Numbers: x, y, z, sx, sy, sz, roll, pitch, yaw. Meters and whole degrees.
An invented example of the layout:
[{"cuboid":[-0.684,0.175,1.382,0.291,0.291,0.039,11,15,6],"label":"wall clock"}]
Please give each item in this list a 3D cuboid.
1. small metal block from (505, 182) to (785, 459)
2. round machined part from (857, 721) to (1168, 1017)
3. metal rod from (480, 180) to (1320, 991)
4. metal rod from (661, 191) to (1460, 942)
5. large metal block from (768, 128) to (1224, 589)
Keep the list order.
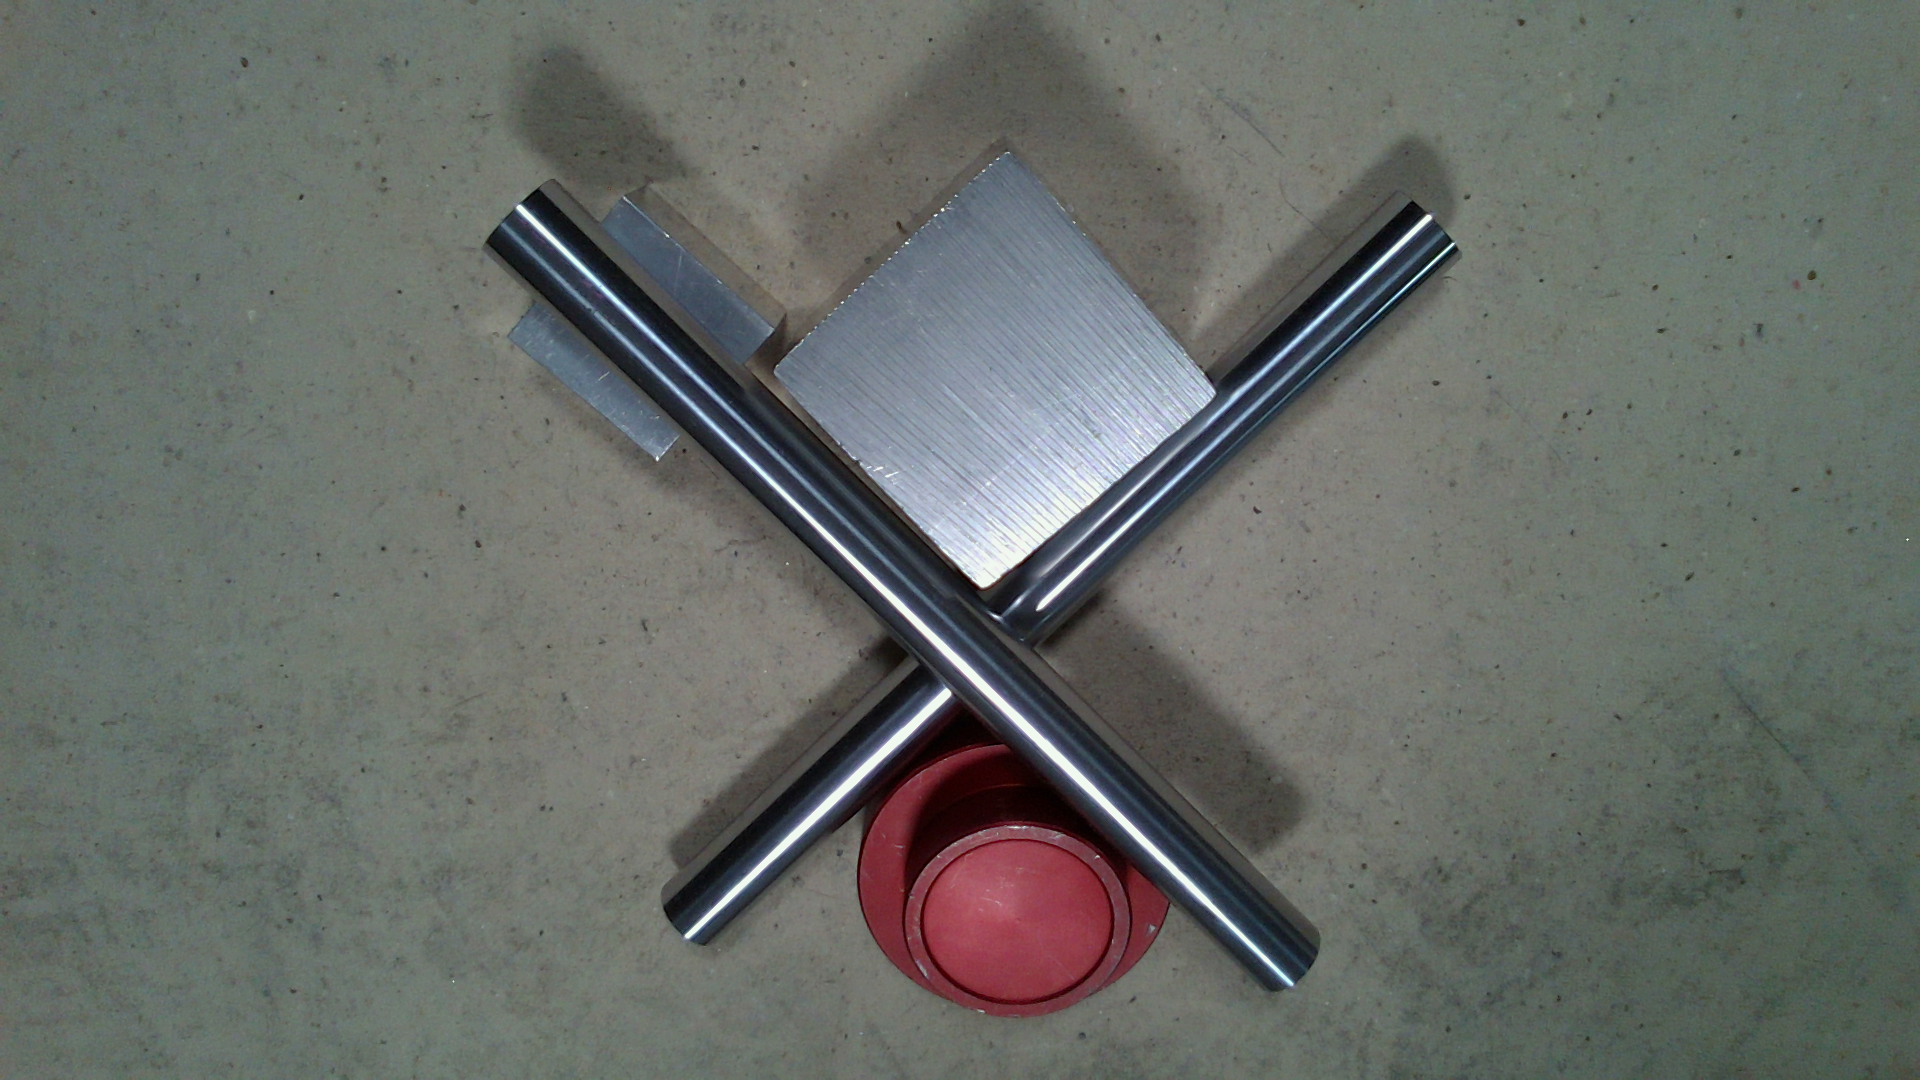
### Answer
[{"cuboid":[-0.084,-0.059,0.373,0.050,0.025,0.050,41,105,-14],"label":"small metal block"},{"cuboid":[0.017,0.106,0.424,0.098,0.042,0.098,0,110,0],"label":"round machined part"},{"cuboid":[-0.005,0.023,0.375,0.025,0.025,0.300,-42,105,14],"label":"metal rod"},{"cuboid":[0.019,0.017,0.402,0.025,0.025,0.300,42,105,-14],"label":"metal rod"},{"cuboid":[0.009,-0.049,0.364,0.080,0.050,0.080,-40,105,13],"label":"large metal block"}]
